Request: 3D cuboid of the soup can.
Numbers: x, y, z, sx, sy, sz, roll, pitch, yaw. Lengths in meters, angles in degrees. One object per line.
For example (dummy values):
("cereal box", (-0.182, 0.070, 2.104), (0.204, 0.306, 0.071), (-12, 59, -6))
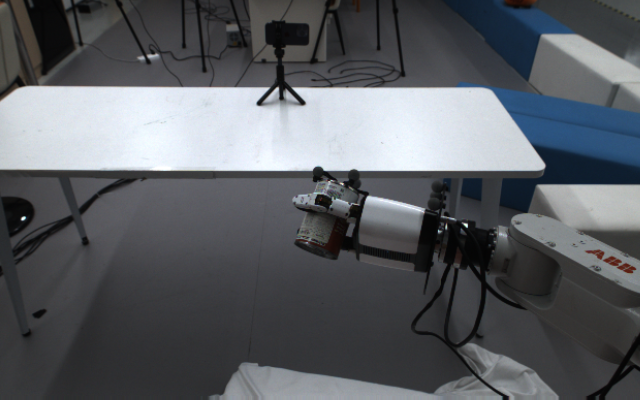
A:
("soup can", (0.012, 0.029, 0.709), (0.067, 0.067, 0.101), (16, 75, 19))
